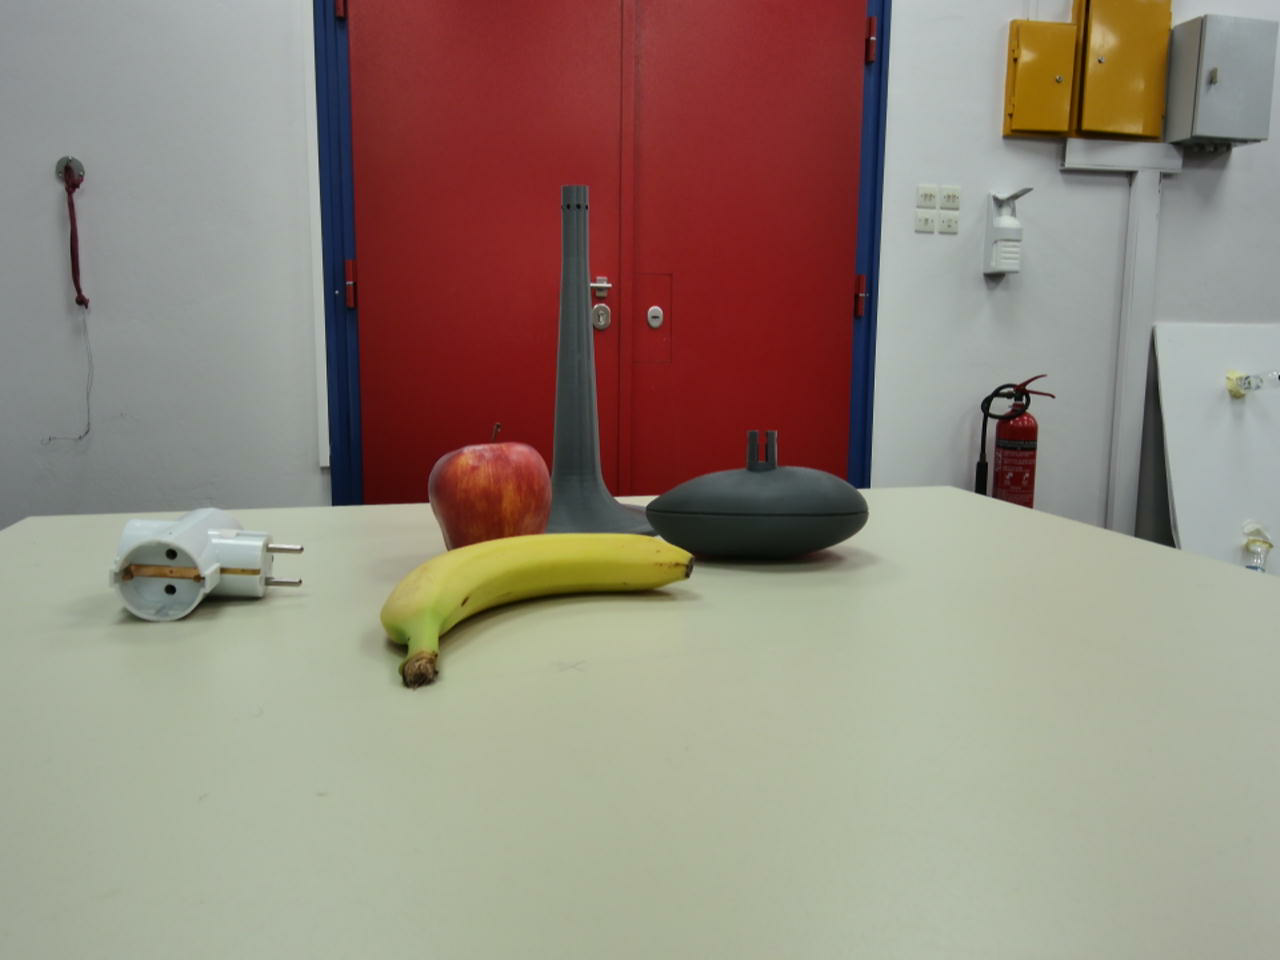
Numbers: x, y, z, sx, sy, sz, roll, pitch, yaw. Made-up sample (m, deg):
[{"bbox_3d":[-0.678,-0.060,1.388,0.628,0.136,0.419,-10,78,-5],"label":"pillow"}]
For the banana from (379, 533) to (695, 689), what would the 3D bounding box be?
[{"bbox_3d":[-0.063,0.055,0.513,0.094,0.041,0.196,5,9,41],"label":"banana"}]
